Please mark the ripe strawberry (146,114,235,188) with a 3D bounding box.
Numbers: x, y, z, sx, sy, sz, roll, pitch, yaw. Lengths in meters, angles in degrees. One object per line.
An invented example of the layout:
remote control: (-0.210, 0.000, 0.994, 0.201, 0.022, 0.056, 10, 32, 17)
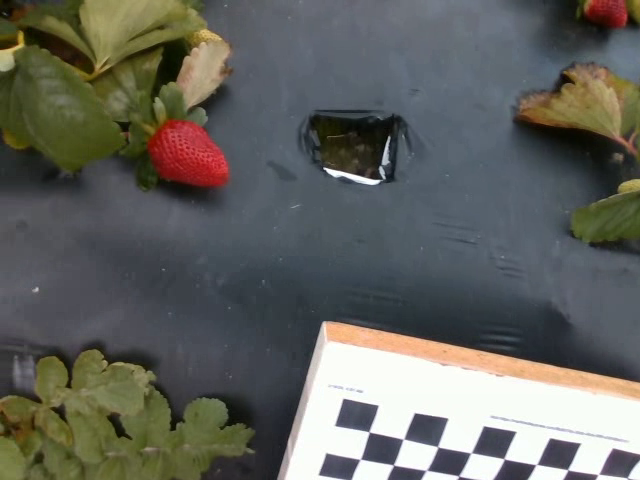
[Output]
ripe strawberry: (-0.085, -0.052, 0.342, 0.064, 0.046, 0.048, 35, 35, 19)
